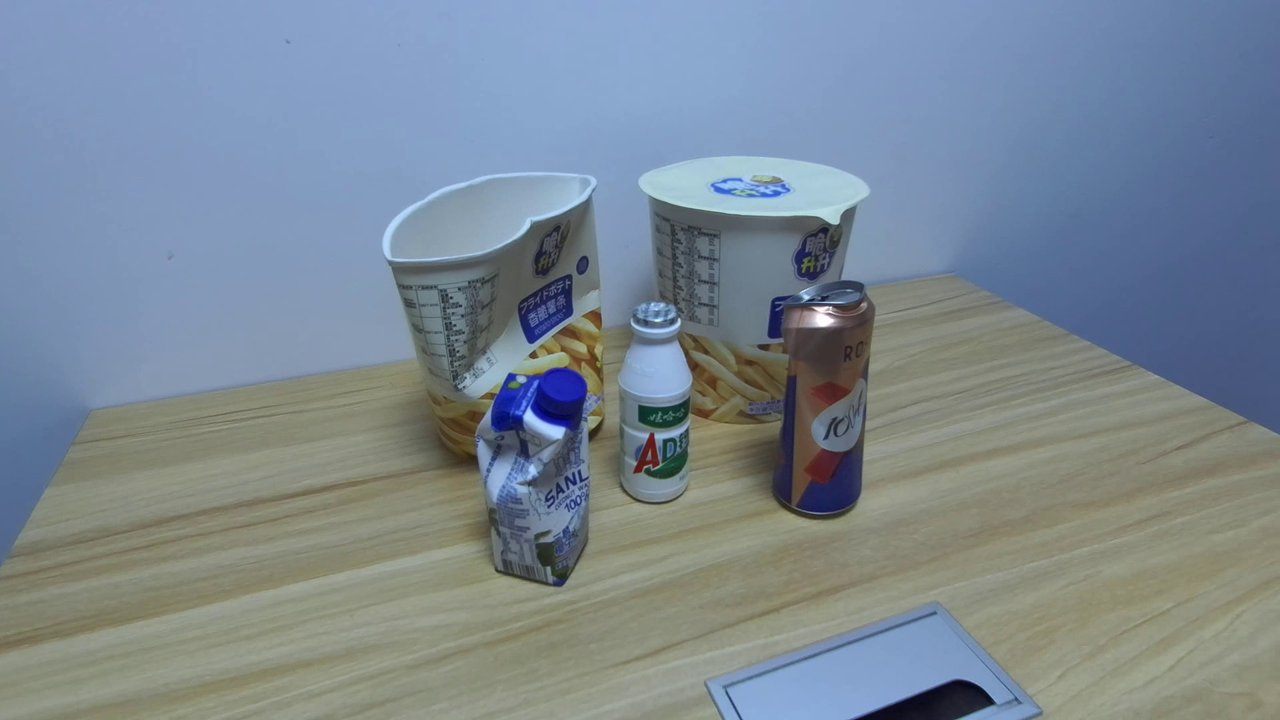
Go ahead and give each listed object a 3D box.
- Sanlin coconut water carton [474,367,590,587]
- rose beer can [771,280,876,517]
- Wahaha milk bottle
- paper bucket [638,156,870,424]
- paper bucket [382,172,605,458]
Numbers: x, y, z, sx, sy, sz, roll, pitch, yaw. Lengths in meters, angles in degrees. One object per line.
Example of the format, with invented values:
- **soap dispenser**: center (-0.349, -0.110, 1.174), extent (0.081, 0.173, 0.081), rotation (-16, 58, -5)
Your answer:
- **Sanlin coconut water carton**: center (-0.066, 0.070, 0.444), extent (0.069, 0.144, 0.061), rotation (10, 31, 15)
- **rose beer can**: center (0.130, 0.029, 0.495), extent (0.070, 0.168, 0.069), rotation (-5, 27, -1)
- **Wahaha milk bottle**: center (0.011, 0.032, 0.507), extent (0.053, 0.147, 0.053), rotation (0, 29, 0)
- **paper bucket**: center (0.095, -0.064, 0.631), extent (0.198, 0.195, 0.198), rotation (0, 29, 1)
- **paper bucket**: center (-0.102, -0.036, 0.578), extent (0.148, 0.199, 0.217), rotation (-2, 29, -5)
